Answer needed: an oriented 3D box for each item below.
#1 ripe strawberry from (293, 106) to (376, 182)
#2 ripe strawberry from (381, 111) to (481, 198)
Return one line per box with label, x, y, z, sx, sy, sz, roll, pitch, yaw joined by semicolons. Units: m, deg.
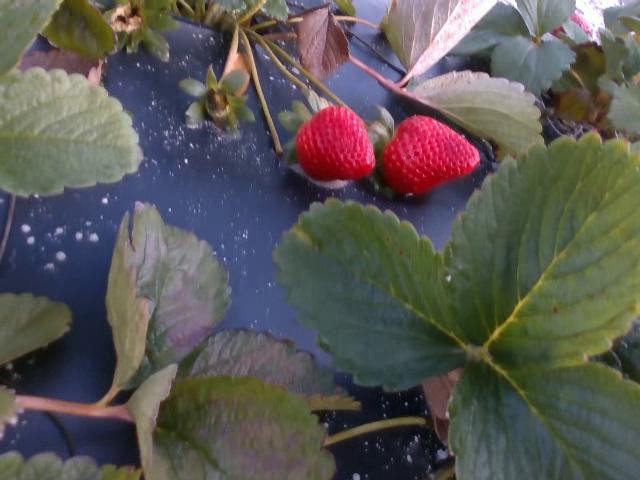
ripe strawberry;0.013;-0.053;0.349;0.048;0.041;0.056;-8;42;-32
ripe strawberry;0.070;-0.056;0.374;0.064;0.051;0.058;18;45;24
